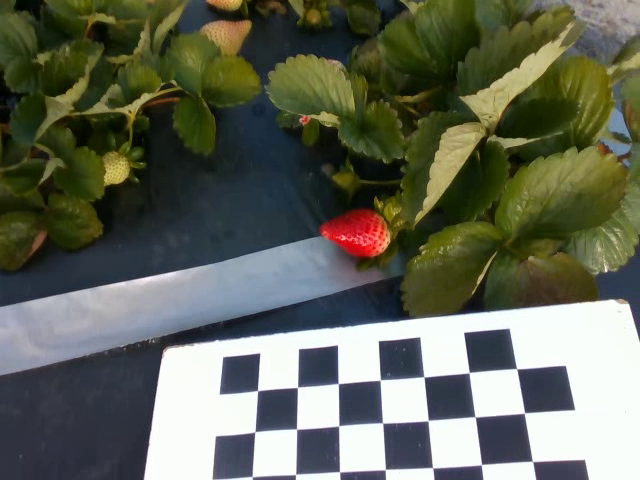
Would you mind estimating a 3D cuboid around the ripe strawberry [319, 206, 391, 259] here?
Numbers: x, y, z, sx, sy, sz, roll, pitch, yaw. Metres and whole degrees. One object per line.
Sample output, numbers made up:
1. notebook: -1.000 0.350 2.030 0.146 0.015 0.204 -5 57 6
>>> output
1. ripe strawberry: 0.020 -0.004 0.387 0.055 0.050 0.036 -4 -29 -7
